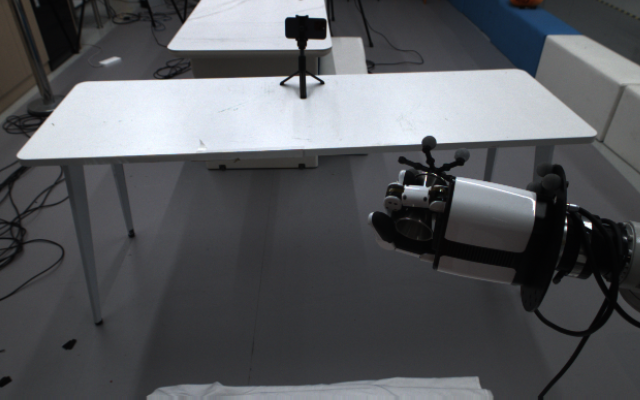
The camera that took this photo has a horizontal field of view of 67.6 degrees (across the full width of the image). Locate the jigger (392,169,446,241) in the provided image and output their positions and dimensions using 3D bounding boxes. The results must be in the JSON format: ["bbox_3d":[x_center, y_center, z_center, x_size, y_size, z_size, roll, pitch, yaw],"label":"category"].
[{"bbox_3d":[0.118,0.004,0.551,0.043,0.043,0.071,16,59,19],"label":"jigger"}]
